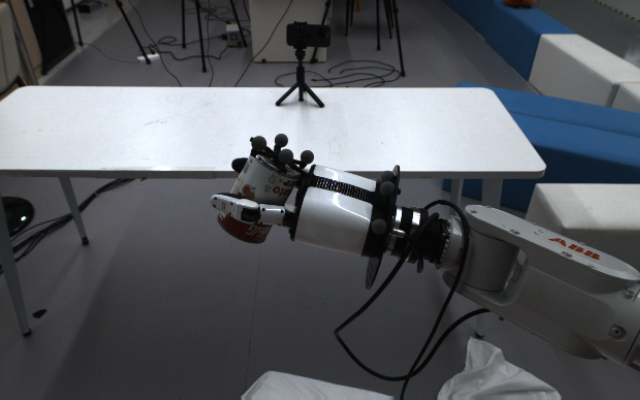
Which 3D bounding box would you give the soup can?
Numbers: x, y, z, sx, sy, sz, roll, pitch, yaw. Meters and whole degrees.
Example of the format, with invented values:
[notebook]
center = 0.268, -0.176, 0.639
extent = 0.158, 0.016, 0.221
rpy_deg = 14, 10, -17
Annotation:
[soup can]
center = -0.075, -0.005, 0.601
extent = 0.067, 0.101, 0.067
rpy_deg = 27, 18, -10
